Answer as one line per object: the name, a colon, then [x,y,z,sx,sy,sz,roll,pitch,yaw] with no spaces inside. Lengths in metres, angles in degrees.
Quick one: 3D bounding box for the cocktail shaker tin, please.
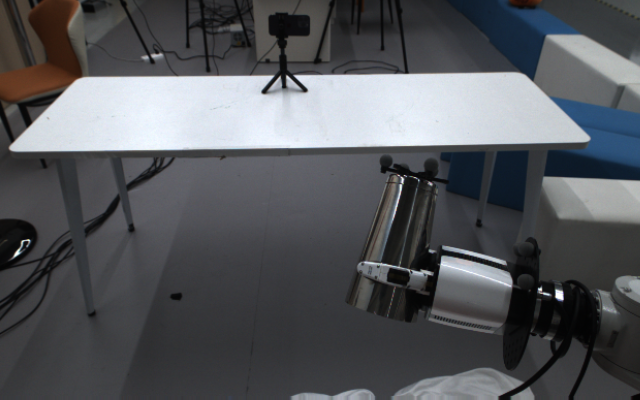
cocktail shaker tin: [0.099,0.058,0.615,0.093,0.170,0.093,15,-4,1]
